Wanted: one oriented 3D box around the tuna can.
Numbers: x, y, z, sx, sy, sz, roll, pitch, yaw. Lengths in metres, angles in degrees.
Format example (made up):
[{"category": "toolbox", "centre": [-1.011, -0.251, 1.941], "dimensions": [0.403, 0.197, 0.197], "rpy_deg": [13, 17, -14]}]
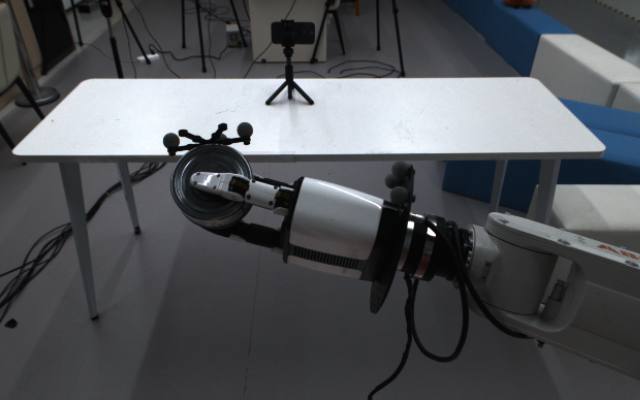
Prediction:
[{"category": "tuna can", "centre": [-0.107, -0.010, 0.505], "dimensions": [0.085, 0.034, 0.085], "rpy_deg": [0, 72, -2]}]
